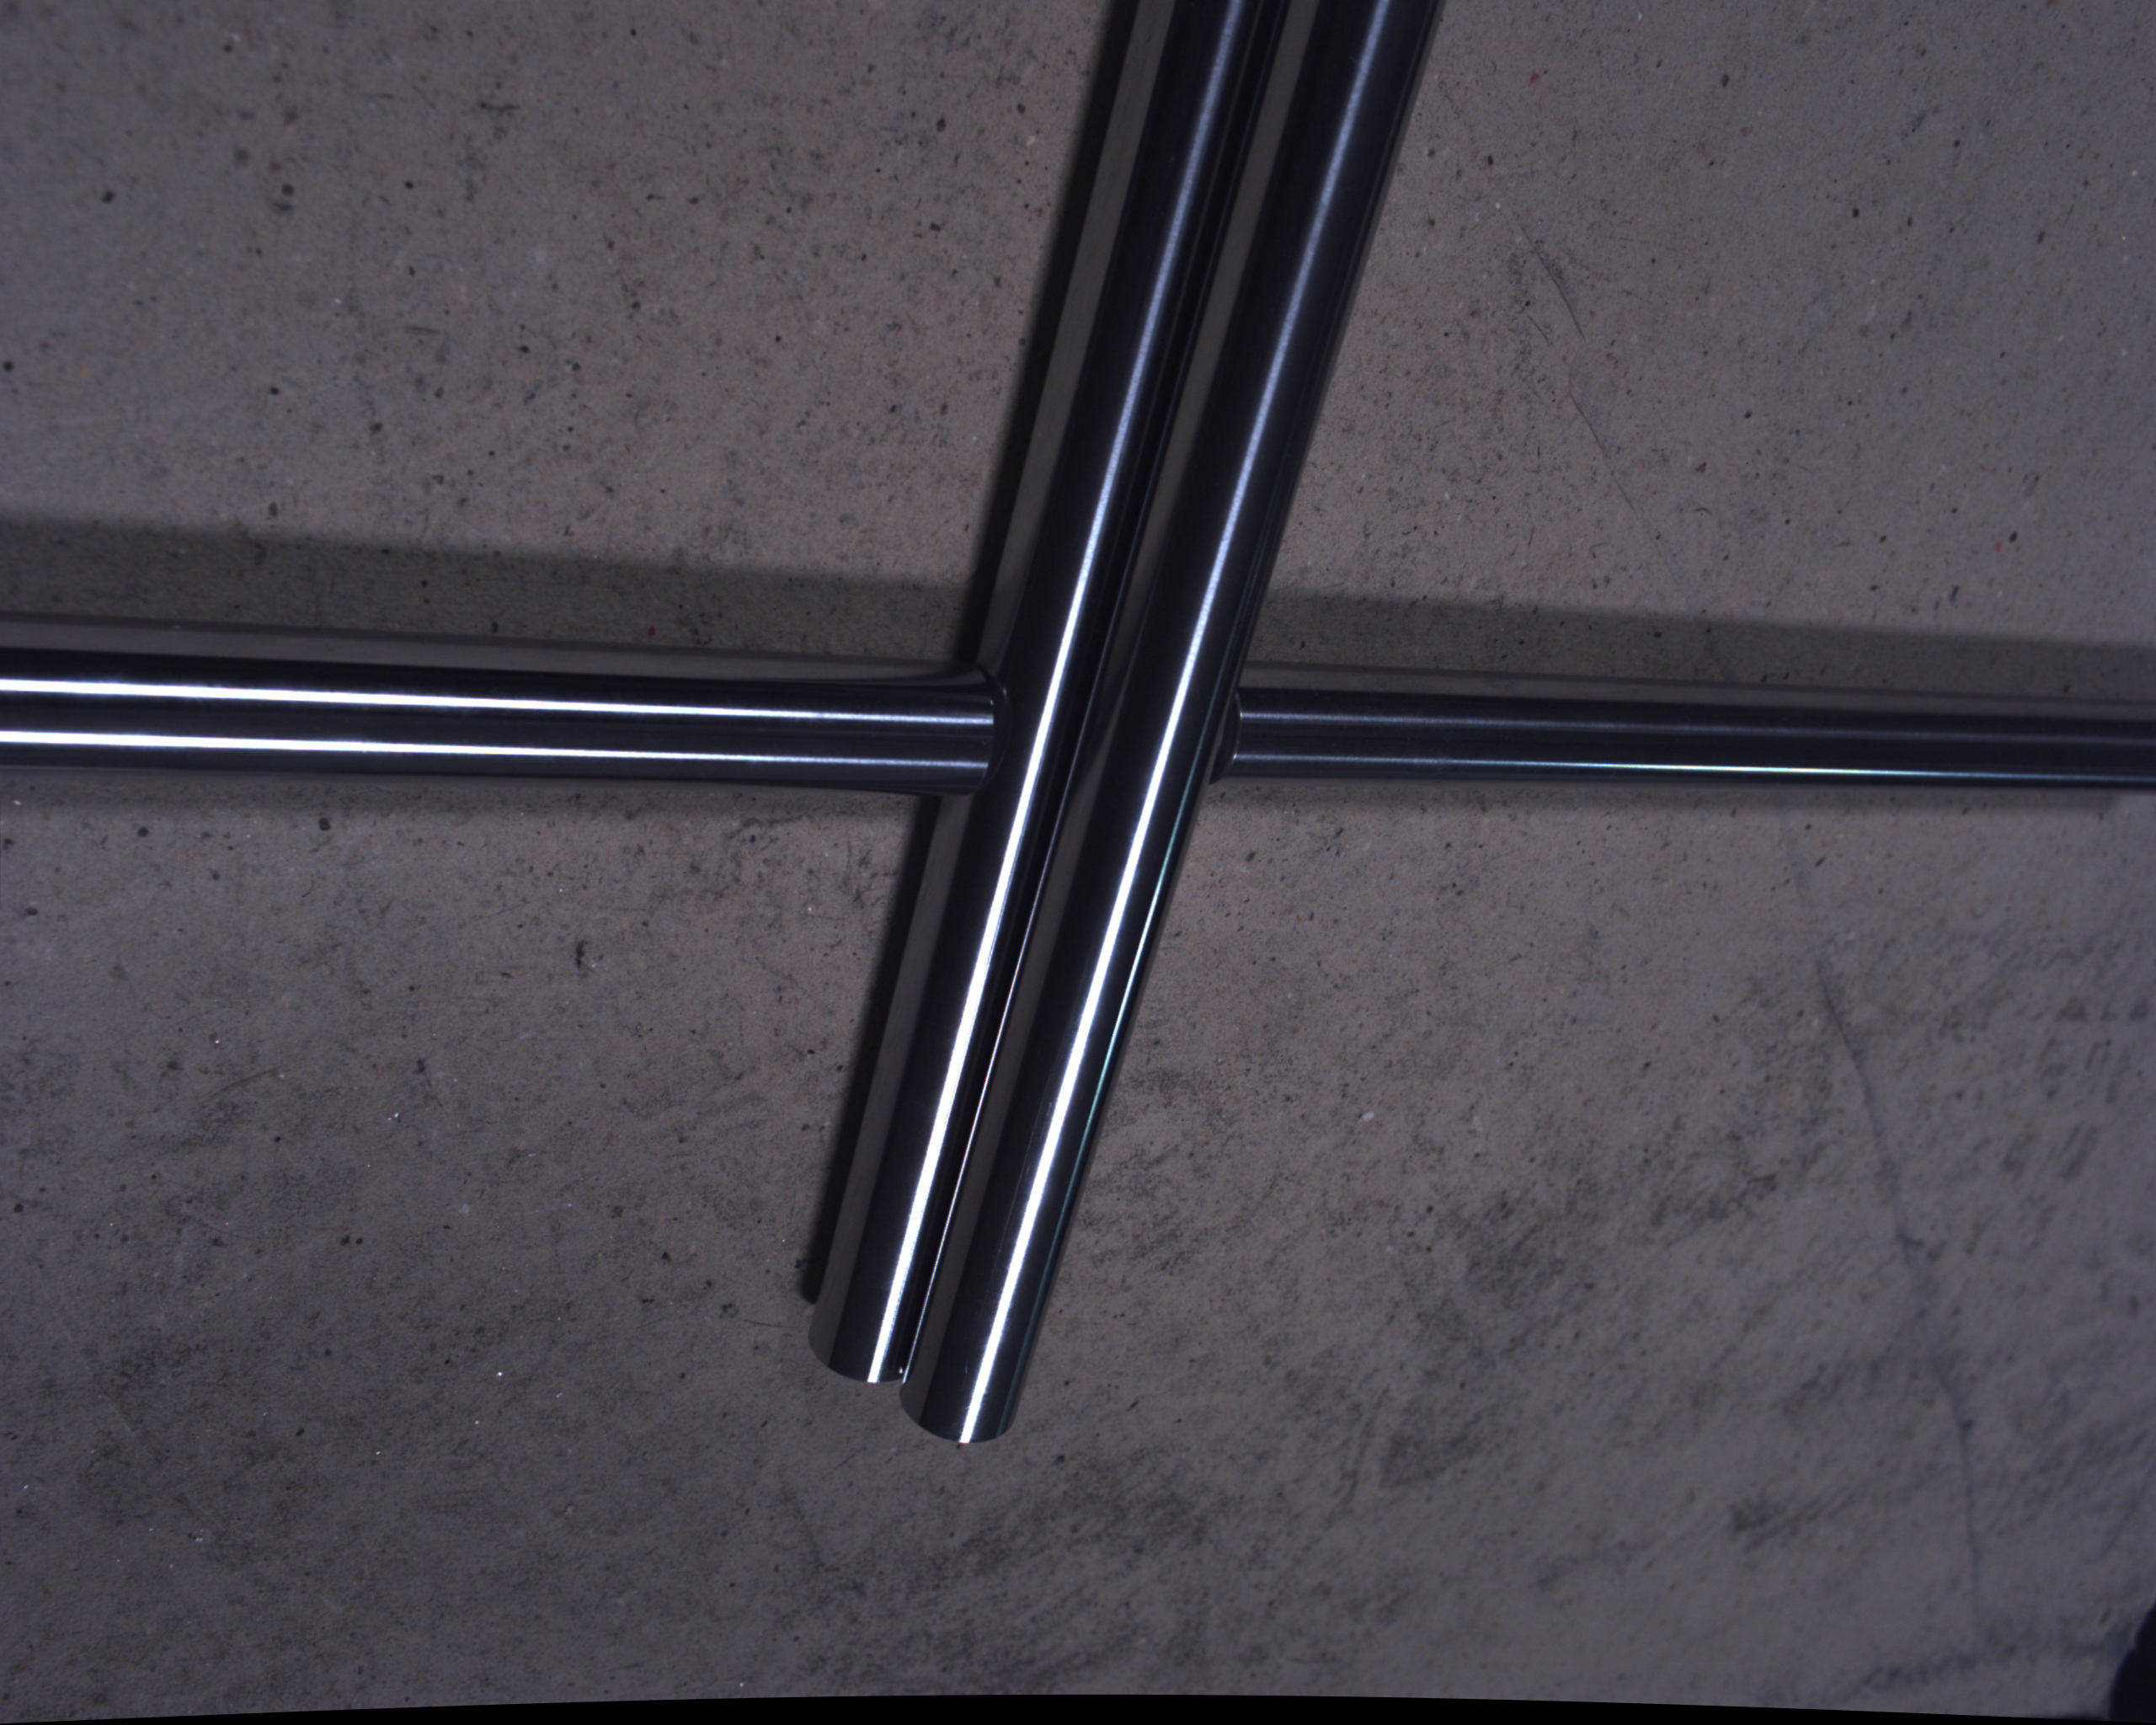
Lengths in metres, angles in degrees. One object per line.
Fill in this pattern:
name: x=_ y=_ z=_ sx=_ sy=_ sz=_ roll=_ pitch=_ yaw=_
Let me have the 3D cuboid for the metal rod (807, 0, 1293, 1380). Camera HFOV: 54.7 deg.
metal rod: x=-0.009 y=-0.028 z=0.389 sx=0.025 sy=0.025 sz=0.298 roll=1 pitch=118 yaw=-29

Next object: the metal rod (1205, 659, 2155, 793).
metal rod: x=0.157 y=-0.029 z=0.479 sx=0.303 sy=0.025 sz=0.025 roll=-1 pitch=119 yaw=-29

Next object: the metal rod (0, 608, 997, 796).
metal rod: x=-0.153 y=-0.025 z=0.310 sx=0.303 sy=0.025 sz=0.025 roll=0 pitch=118 yaw=-29

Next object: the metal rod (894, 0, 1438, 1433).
metal rod: x=0.010 y=-0.019 z=0.377 sx=0.025 sy=0.025 sz=0.298 roll=1 pitch=118 yaw=-29

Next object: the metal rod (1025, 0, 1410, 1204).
metal rod: x=0.011 y=-0.023 z=0.403 sx=0.025 sy=0.025 sz=0.298 roll=1 pitch=118 yaw=-29
